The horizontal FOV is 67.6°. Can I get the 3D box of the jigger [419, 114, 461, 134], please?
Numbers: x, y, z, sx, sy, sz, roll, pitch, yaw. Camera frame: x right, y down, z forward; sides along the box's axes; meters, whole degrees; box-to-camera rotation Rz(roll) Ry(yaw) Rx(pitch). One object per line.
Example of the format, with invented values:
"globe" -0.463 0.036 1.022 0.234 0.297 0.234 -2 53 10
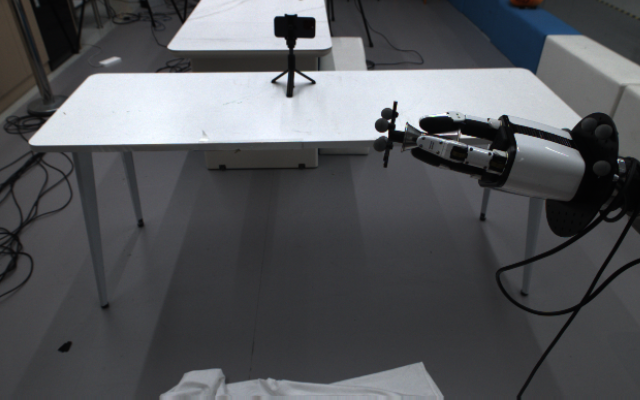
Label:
"jigger" 0.149 -0.081 0.626 0.071 0.043 0.043 9 35 9
